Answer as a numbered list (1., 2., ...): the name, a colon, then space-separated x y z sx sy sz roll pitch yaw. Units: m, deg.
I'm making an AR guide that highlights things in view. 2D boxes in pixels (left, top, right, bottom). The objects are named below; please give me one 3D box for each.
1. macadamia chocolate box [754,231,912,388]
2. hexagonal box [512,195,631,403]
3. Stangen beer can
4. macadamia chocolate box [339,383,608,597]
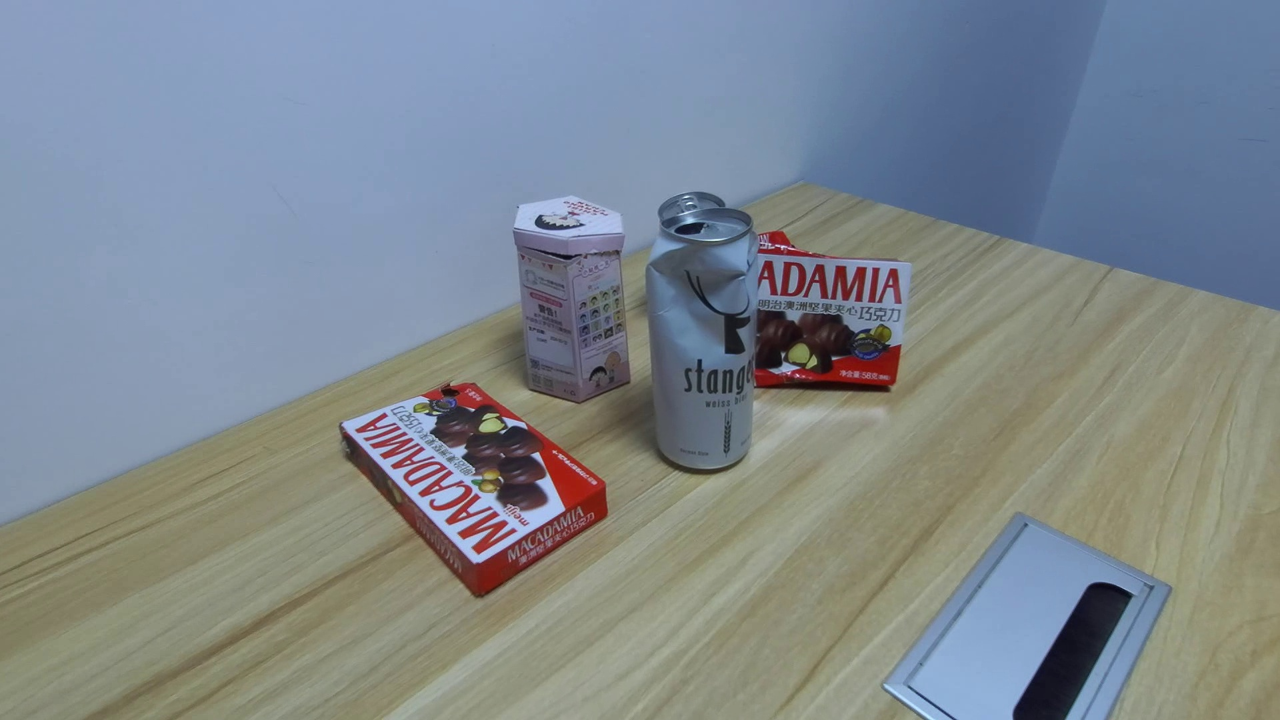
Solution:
1. macadamia chocolate box: 0.135 -0.037 0.533 0.126 0.112 0.056 3 31 5
2. hexagonal box: -0.050 -0.046 0.533 0.092 0.135 0.085 15 37 25
3. Stangen beer can: 0.041 -0.010 0.447 0.066 0.166 0.066 5 33 13
4. macadamia chocolate box: -0.115 0.068 0.469 0.103 0.027 0.186 -27 41 -35
